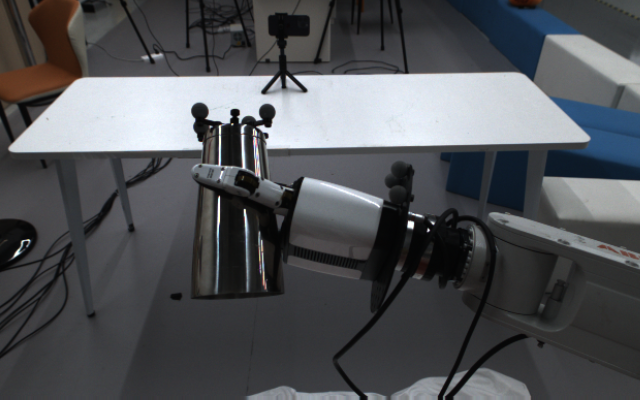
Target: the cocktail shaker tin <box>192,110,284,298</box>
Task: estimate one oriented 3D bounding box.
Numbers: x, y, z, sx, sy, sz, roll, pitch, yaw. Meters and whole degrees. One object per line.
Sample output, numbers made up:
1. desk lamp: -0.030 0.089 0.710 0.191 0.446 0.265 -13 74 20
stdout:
1. cocktail shaker tin: -0.085 0.014 0.498 0.093 0.093 0.170 -3 76 -7
